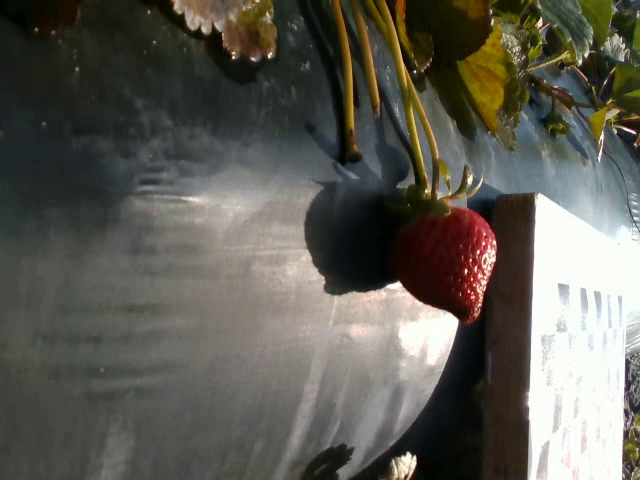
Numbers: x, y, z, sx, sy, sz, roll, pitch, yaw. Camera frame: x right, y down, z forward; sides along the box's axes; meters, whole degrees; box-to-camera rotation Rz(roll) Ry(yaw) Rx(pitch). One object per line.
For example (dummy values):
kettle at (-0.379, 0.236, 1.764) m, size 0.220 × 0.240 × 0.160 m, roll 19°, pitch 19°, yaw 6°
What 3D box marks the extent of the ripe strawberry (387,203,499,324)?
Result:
ripe strawberry at (0.043, 0.009, 0.197) m, size 0.037 × 0.044 × 0.040 m, roll -15°, pitch 4°, yaw 37°
